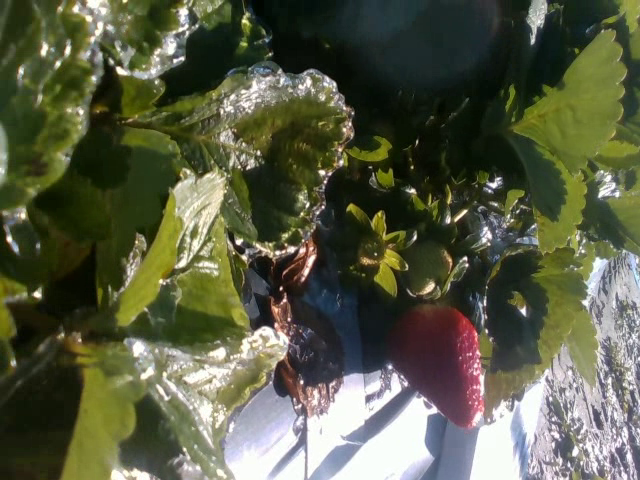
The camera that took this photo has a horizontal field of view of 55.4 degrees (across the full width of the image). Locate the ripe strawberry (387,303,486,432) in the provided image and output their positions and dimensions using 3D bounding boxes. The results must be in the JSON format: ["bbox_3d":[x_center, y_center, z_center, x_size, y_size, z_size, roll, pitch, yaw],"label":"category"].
[{"bbox_3d":[0.068,0.072,0.321,0.057,0.065,0.062,-23,-41,-1],"label":"ripe strawberry"}]
